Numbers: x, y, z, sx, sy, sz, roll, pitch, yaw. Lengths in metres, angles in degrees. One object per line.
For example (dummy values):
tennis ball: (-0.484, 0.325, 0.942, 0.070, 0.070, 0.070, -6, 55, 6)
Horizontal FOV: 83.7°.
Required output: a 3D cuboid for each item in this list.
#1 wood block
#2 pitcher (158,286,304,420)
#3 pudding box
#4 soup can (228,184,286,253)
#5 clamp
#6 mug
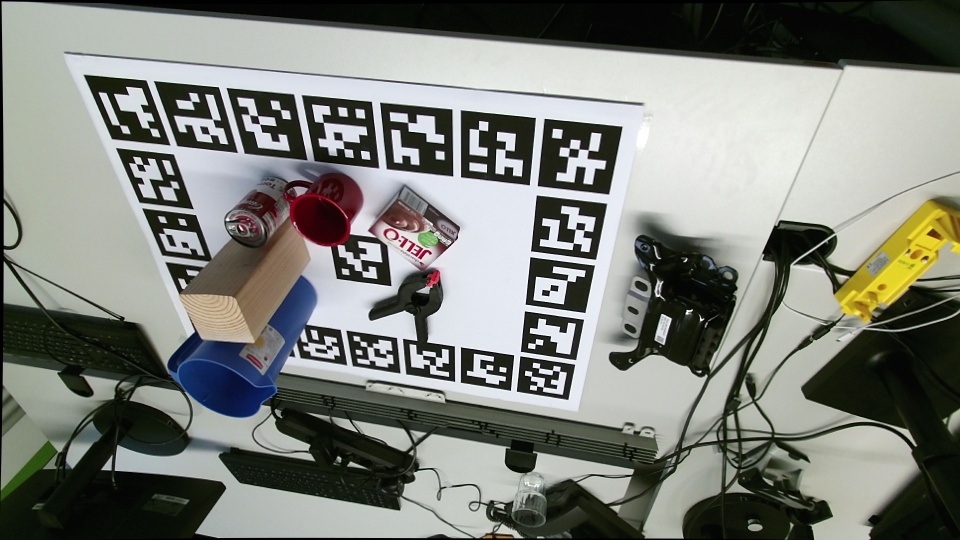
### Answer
wood block: (-0.370, 0.019, 0.837, 0.090, 0.205, 0.091, 7, 127, 11)
pitcher: (-0.402, 0.122, 0.901, 0.189, 0.241, 0.133, 5, 129, 4)
pudding box: (-0.105, -0.051, 0.843, 0.114, 0.038, 0.090, 37, 121, -17)
soup can: (-0.342, -0.081, 0.822, 0.068, 0.101, 0.068, 5, 124, 7)
clamp: (-0.131, 0.072, 0.947, 0.122, 0.036, 0.165, 34, 125, -6)
mug: (-0.247, -0.092, 0.810, 0.117, 0.081, 0.093, 36, 127, -17)
